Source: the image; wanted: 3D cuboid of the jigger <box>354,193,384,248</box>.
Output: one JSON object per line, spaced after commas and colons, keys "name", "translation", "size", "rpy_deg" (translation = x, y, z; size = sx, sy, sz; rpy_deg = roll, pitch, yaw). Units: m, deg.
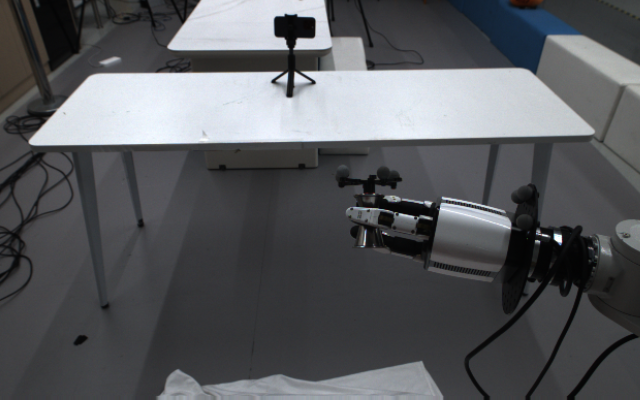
{"name": "jigger", "translation": [0.062, 0.027, 0.622], "size": [0.043, 0.071, 0.043], "rpy_deg": [1, -5, 0]}
